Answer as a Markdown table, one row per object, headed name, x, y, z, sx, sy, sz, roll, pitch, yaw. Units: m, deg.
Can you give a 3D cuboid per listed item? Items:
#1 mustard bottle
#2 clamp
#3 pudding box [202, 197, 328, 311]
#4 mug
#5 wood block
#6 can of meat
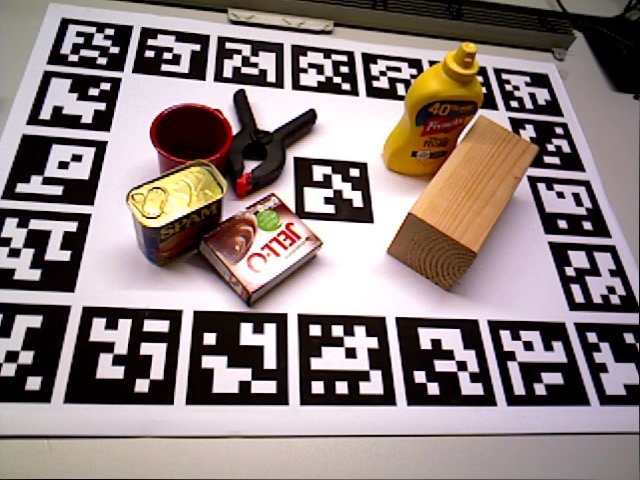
| name | x | y | z | sx | sy | sz | roll | pitch | yaw |
| --- | --- | --- | --- | --- | --- | --- | --- | --- | --- |
| mustard bottle | 0.148 | -0.162 | 0.663 | 0.095 | 0.196 | 0.058 | -1 | 59 | -12 |
| clamp | -0.076 | -0.128 | 0.697 | 0.121 | 0.037 | 0.162 | 20 | 59 | -1 |
| pudding box | -0.062 | 0.013 | 0.609 | 0.111 | 0.039 | 0.090 | -35 | 72 | -29 |
| mug | -0.153 | -0.102 | 0.660 | 0.093 | 0.083 | 0.115 | 22 | 59 | 2 |
| wood block | 0.184 | -0.042 | 0.664 | 0.090 | 0.093 | 0.202 | 34 | 56 | 12 |
| can of meat | -0.153 | -0.026 | 0.580 | 0.100 | 0.085 | 0.057 | -25 | 68 | -24 |
